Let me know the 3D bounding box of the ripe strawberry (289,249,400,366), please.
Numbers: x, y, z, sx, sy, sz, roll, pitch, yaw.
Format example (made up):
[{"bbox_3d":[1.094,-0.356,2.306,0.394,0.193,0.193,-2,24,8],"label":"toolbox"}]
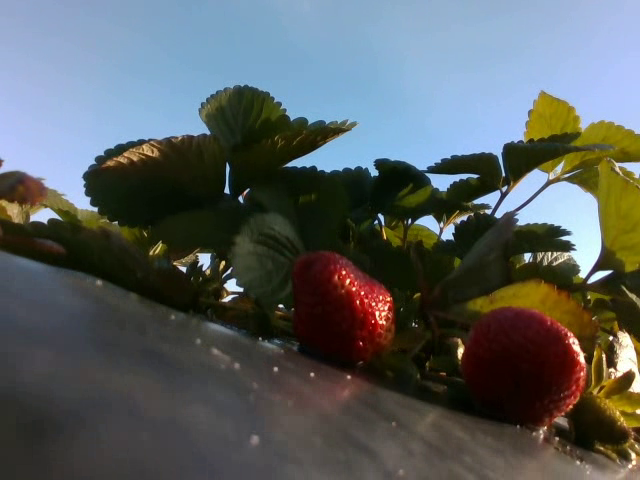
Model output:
[{"bbox_3d":[0.009,0.025,0.230,0.039,0.054,0.048,-34,24,6],"label":"ripe strawberry"}]

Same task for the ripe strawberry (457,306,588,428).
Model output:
[{"bbox_3d":[0.068,0.035,0.195,0.043,0.039,0.053,36,-24,7],"label":"ripe strawberry"}]
